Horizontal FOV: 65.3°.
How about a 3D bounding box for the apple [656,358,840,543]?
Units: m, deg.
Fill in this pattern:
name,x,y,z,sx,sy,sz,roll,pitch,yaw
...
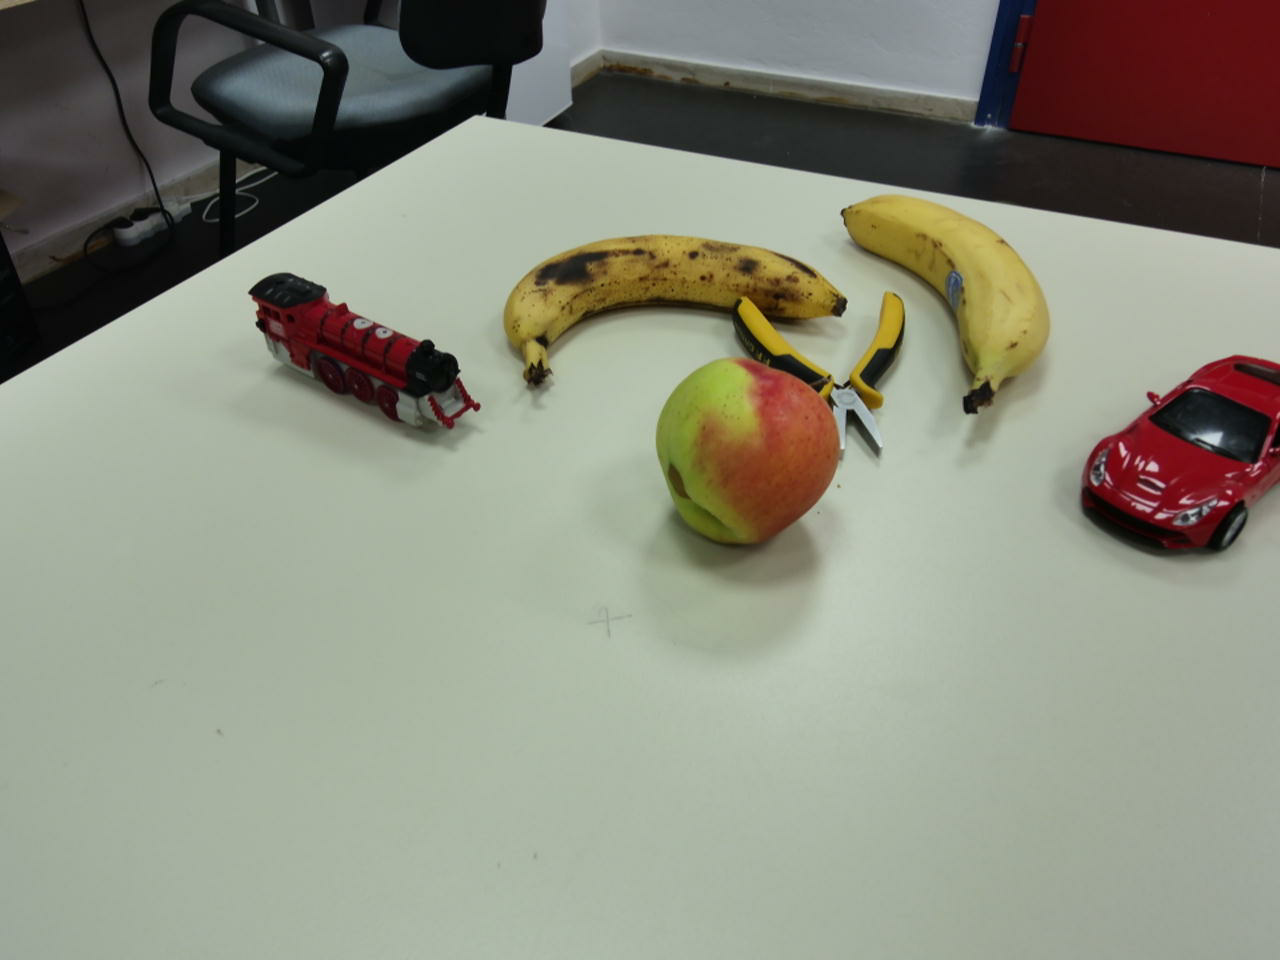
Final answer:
name,x,y,z,sx,sy,sz,roll,pitch,yaw
apple,0.043,-0.012,0.415,0.075,0.074,0.075,4,37,6
